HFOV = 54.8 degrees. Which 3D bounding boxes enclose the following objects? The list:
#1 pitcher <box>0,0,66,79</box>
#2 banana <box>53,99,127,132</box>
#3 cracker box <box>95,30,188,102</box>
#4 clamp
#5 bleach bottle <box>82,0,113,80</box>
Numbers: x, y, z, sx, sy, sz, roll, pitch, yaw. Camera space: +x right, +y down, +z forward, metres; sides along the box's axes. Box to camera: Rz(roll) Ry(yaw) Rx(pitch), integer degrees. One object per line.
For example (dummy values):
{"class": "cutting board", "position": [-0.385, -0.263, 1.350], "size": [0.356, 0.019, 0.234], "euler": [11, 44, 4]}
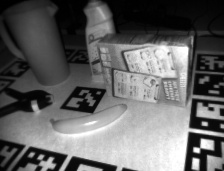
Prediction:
{"class": "pitcher", "position": [-0.234, -0.142, 0.659], "size": [0.188, 0.244, 0.132], "euler": [-5, 37, 4]}
{"class": "banana", "position": [-0.052, 0.078, 0.548], "size": [0.198, 0.039, 0.073], "euler": [-16, 37, -7]}
{"class": "cracker box", "position": [0.078, -0.053, 0.547], "size": [0.211, 0.165, 0.072], "euler": [5, 37, 23]}
{"class": "clamp", "position": [-0.249, 0.037, 0.635], "size": [0.164, 0.037, 0.121], "euler": [-3, 36, 6]}
{"class": "bleach bottle", "position": [-0.043, -0.135, 0.637], "size": [0.101, 0.252, 0.068], "euler": [5, 39, 21]}
